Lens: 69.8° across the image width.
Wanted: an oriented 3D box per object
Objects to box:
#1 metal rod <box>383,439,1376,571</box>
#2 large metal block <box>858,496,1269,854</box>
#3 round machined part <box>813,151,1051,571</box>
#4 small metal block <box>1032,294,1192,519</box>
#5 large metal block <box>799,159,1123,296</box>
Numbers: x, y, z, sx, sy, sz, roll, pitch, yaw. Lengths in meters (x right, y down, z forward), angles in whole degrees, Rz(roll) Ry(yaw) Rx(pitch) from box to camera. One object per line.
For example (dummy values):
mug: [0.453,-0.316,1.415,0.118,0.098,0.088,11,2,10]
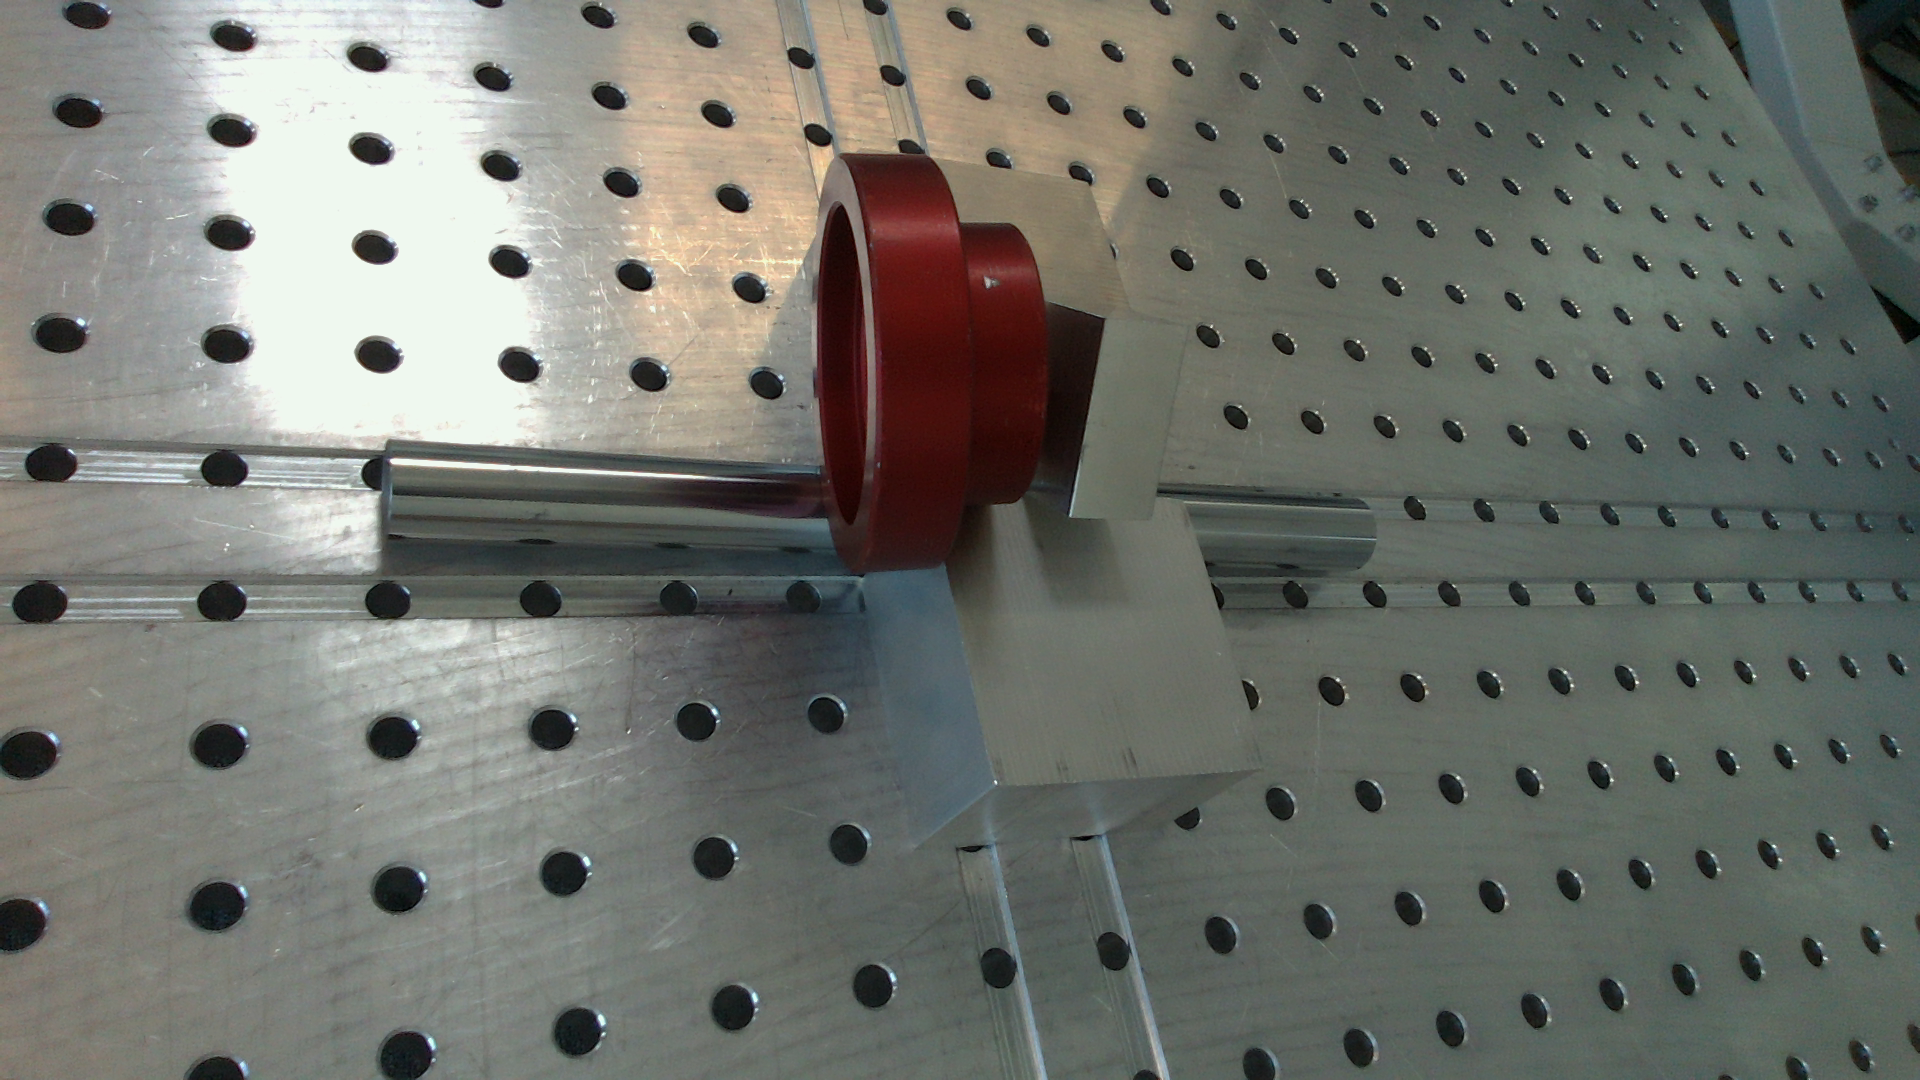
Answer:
metal rod: [-0.002,-0.007,0.395,0.301,0.025,0.025,2,61,-27]
large metal block: [0.025,0.034,0.369,0.080,0.050,0.080,1,61,-28]
round machined part: [-0.008,-0.042,0.330,0.042,0.098,0.098,-3,62,-13]
small metal block: [0.031,-0.037,0.359,0.025,0.050,0.050,1,17,-28]
large metal block: [0.003,-0.067,0.419,0.080,0.050,0.080,1,61,-28]
